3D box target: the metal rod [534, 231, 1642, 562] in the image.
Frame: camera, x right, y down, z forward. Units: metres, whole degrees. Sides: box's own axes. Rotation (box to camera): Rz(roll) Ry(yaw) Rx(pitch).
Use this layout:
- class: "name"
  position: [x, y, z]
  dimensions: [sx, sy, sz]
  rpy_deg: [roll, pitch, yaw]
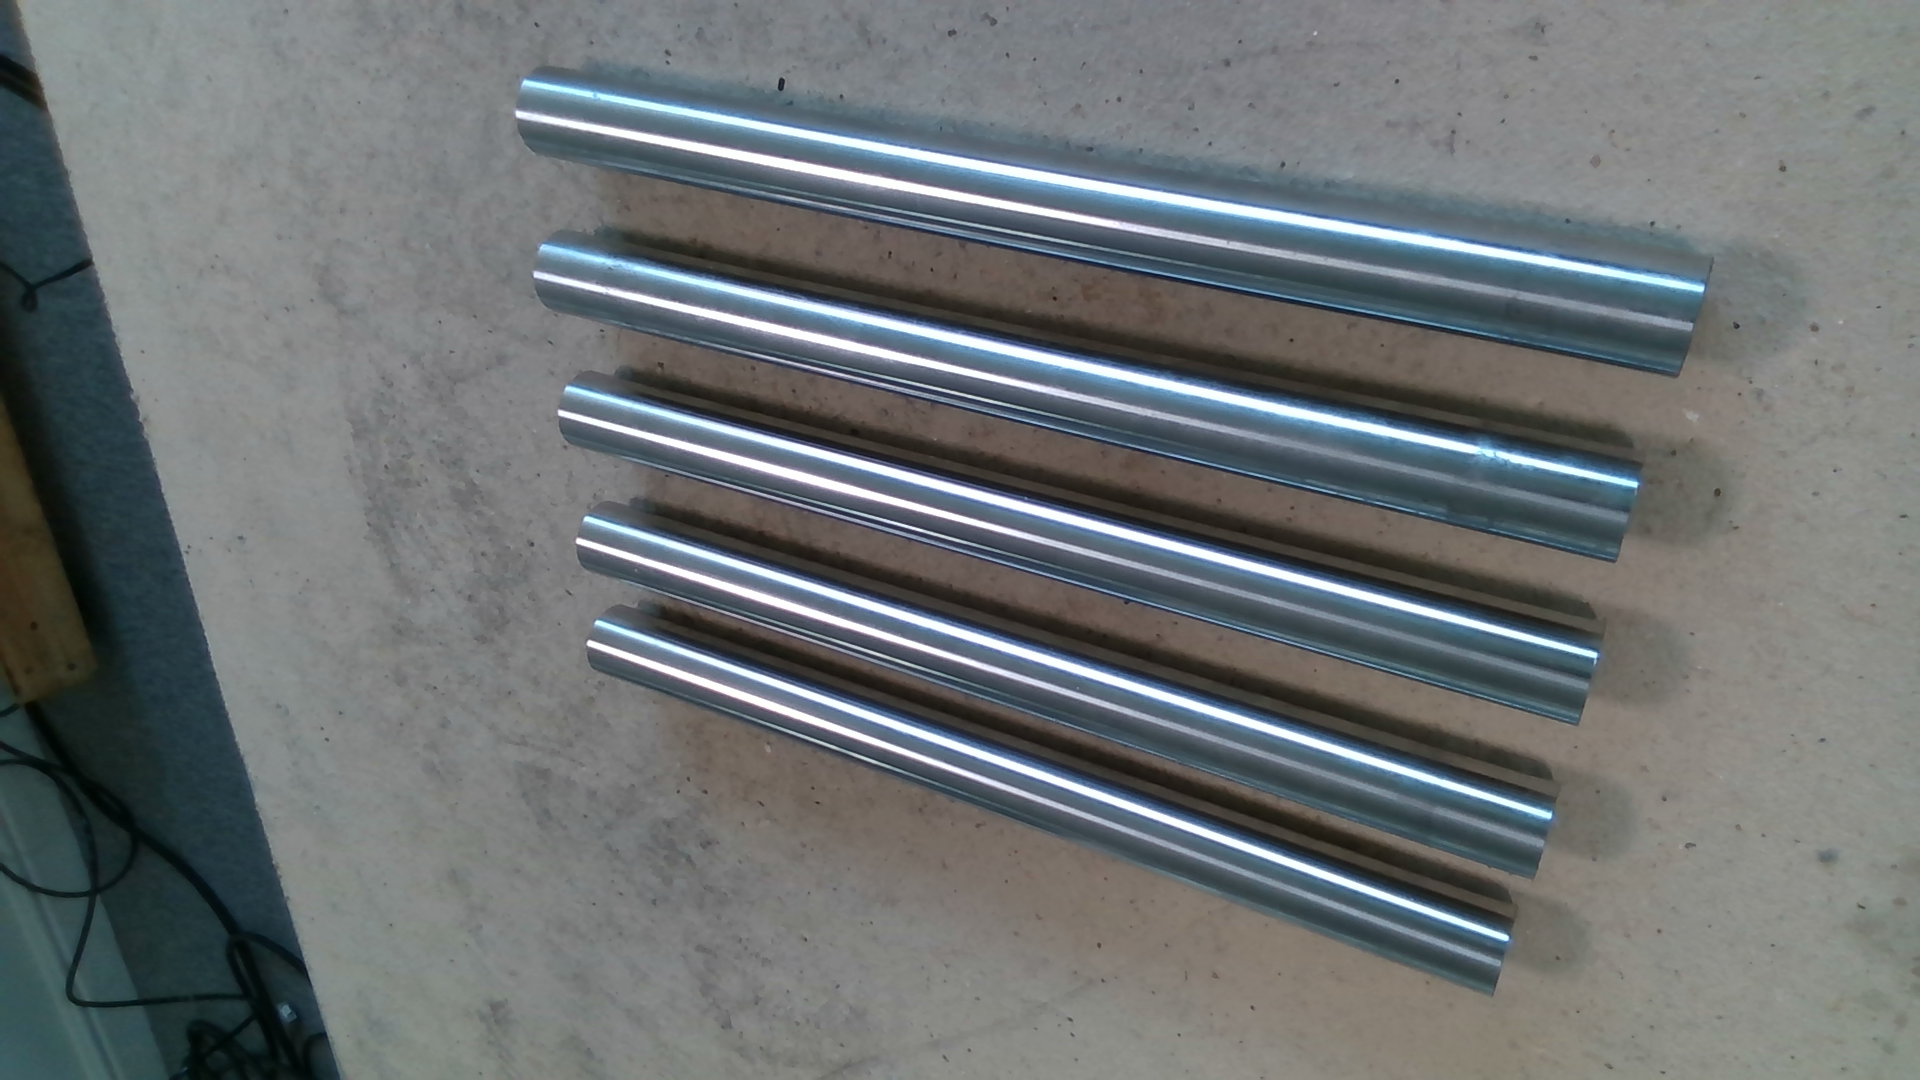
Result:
- class: "metal rod"
  position: [0.012, -0.044, 0.357]
  dimensions: [0.300, 0.025, 0.025]
  rpy_deg: [16, 122, 24]

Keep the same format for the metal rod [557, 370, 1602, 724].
- class: "metal rod"
  position: [0.012, -0.006, 0.378]
  dimensions: [0.300, 0.025, 0.025]
  rpy_deg: [15, 122, 24]

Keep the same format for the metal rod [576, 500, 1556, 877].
- class: "metal rod"
  position: [0.012, 0.035, 0.401]
  dimensions: [0.300, 0.025, 0.025]
  rpy_deg: [15, 122, 24]

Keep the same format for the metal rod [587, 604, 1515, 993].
- class: "metal rod"
  position: [0.010, 0.070, 0.421]
  dimensions: [0.300, 0.025, 0.025]
  rpy_deg: [15, 122, 24]

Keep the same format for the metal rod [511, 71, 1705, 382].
- class: "metal rod"
  position: [0.013, -0.082, 0.334]
  dimensions: [0.300, 0.025, 0.025]
  rpy_deg: [16, 123, 23]
